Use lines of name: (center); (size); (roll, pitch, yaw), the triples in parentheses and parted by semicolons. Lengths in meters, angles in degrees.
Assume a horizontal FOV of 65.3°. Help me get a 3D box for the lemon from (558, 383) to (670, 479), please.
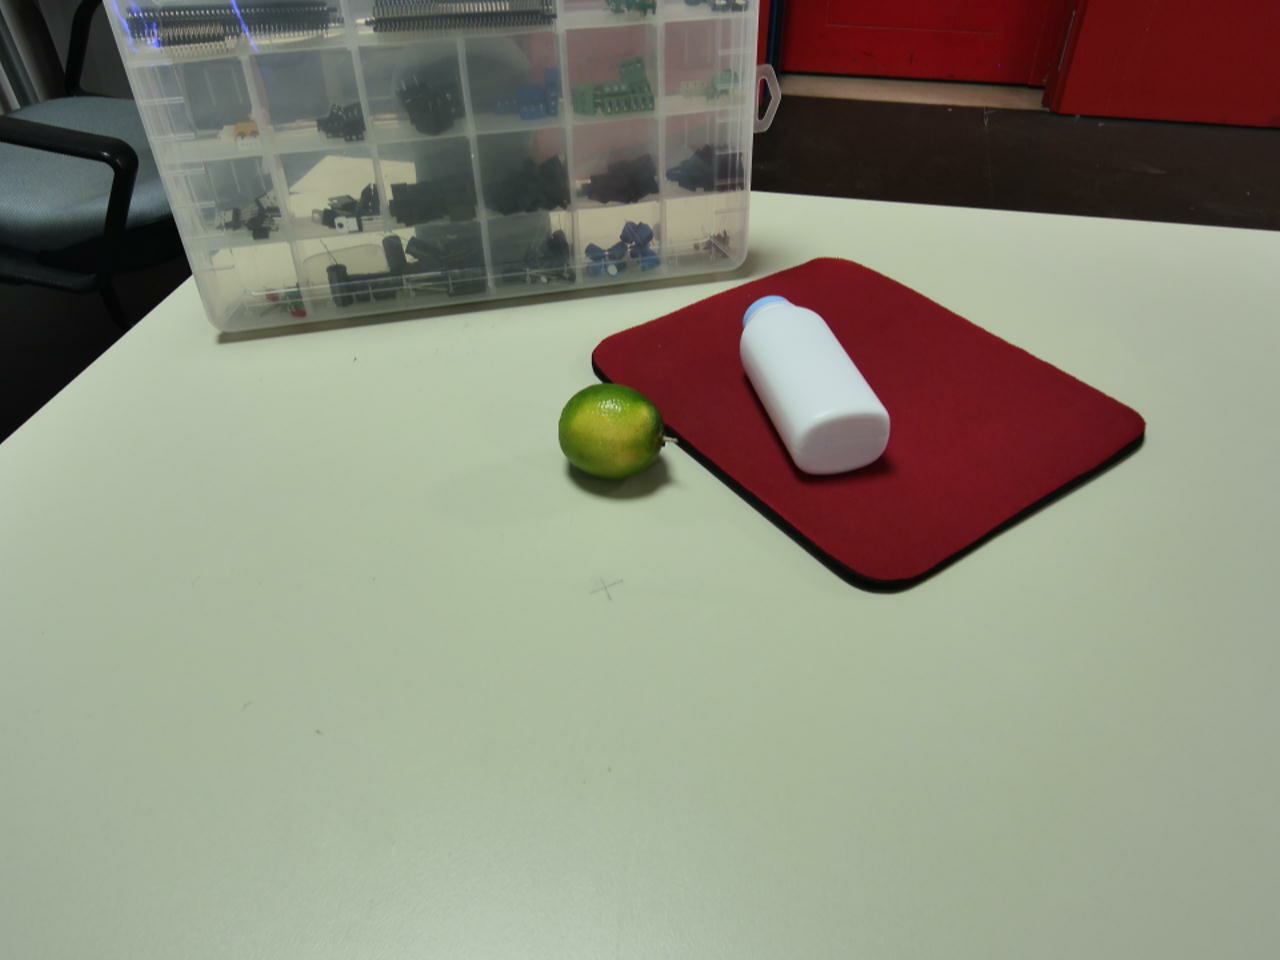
lemon: (-0.016, -0.027, 0.538); (0.054, 0.050, 0.055); (-17, 42, -21)
